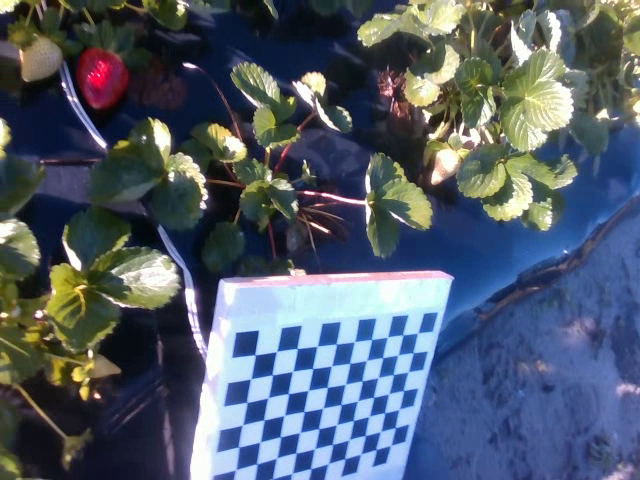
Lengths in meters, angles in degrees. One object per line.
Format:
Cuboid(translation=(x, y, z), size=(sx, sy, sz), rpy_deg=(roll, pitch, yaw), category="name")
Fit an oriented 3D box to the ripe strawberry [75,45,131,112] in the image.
Cuboid(translation=(-0.207, -0.154, 0.616), size=(0.040, 0.080, 0.062), rpy_deg=(-21, -39, 28), category="ripe strawberry")
